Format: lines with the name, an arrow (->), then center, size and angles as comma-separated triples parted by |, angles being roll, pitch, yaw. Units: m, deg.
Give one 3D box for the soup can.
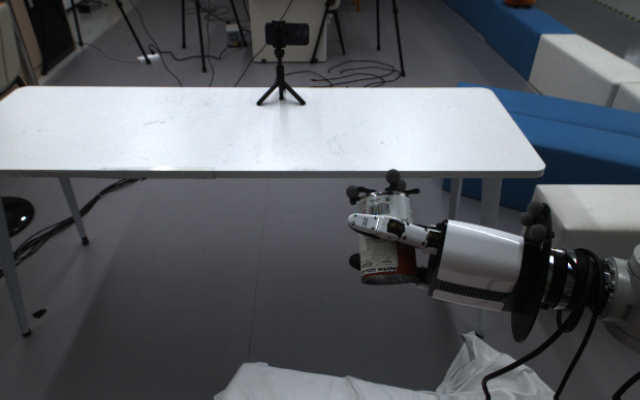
soup can -> 0.084, 0.045, 0.583 | 0.067, 0.067, 0.101 | -2, 71, -5
